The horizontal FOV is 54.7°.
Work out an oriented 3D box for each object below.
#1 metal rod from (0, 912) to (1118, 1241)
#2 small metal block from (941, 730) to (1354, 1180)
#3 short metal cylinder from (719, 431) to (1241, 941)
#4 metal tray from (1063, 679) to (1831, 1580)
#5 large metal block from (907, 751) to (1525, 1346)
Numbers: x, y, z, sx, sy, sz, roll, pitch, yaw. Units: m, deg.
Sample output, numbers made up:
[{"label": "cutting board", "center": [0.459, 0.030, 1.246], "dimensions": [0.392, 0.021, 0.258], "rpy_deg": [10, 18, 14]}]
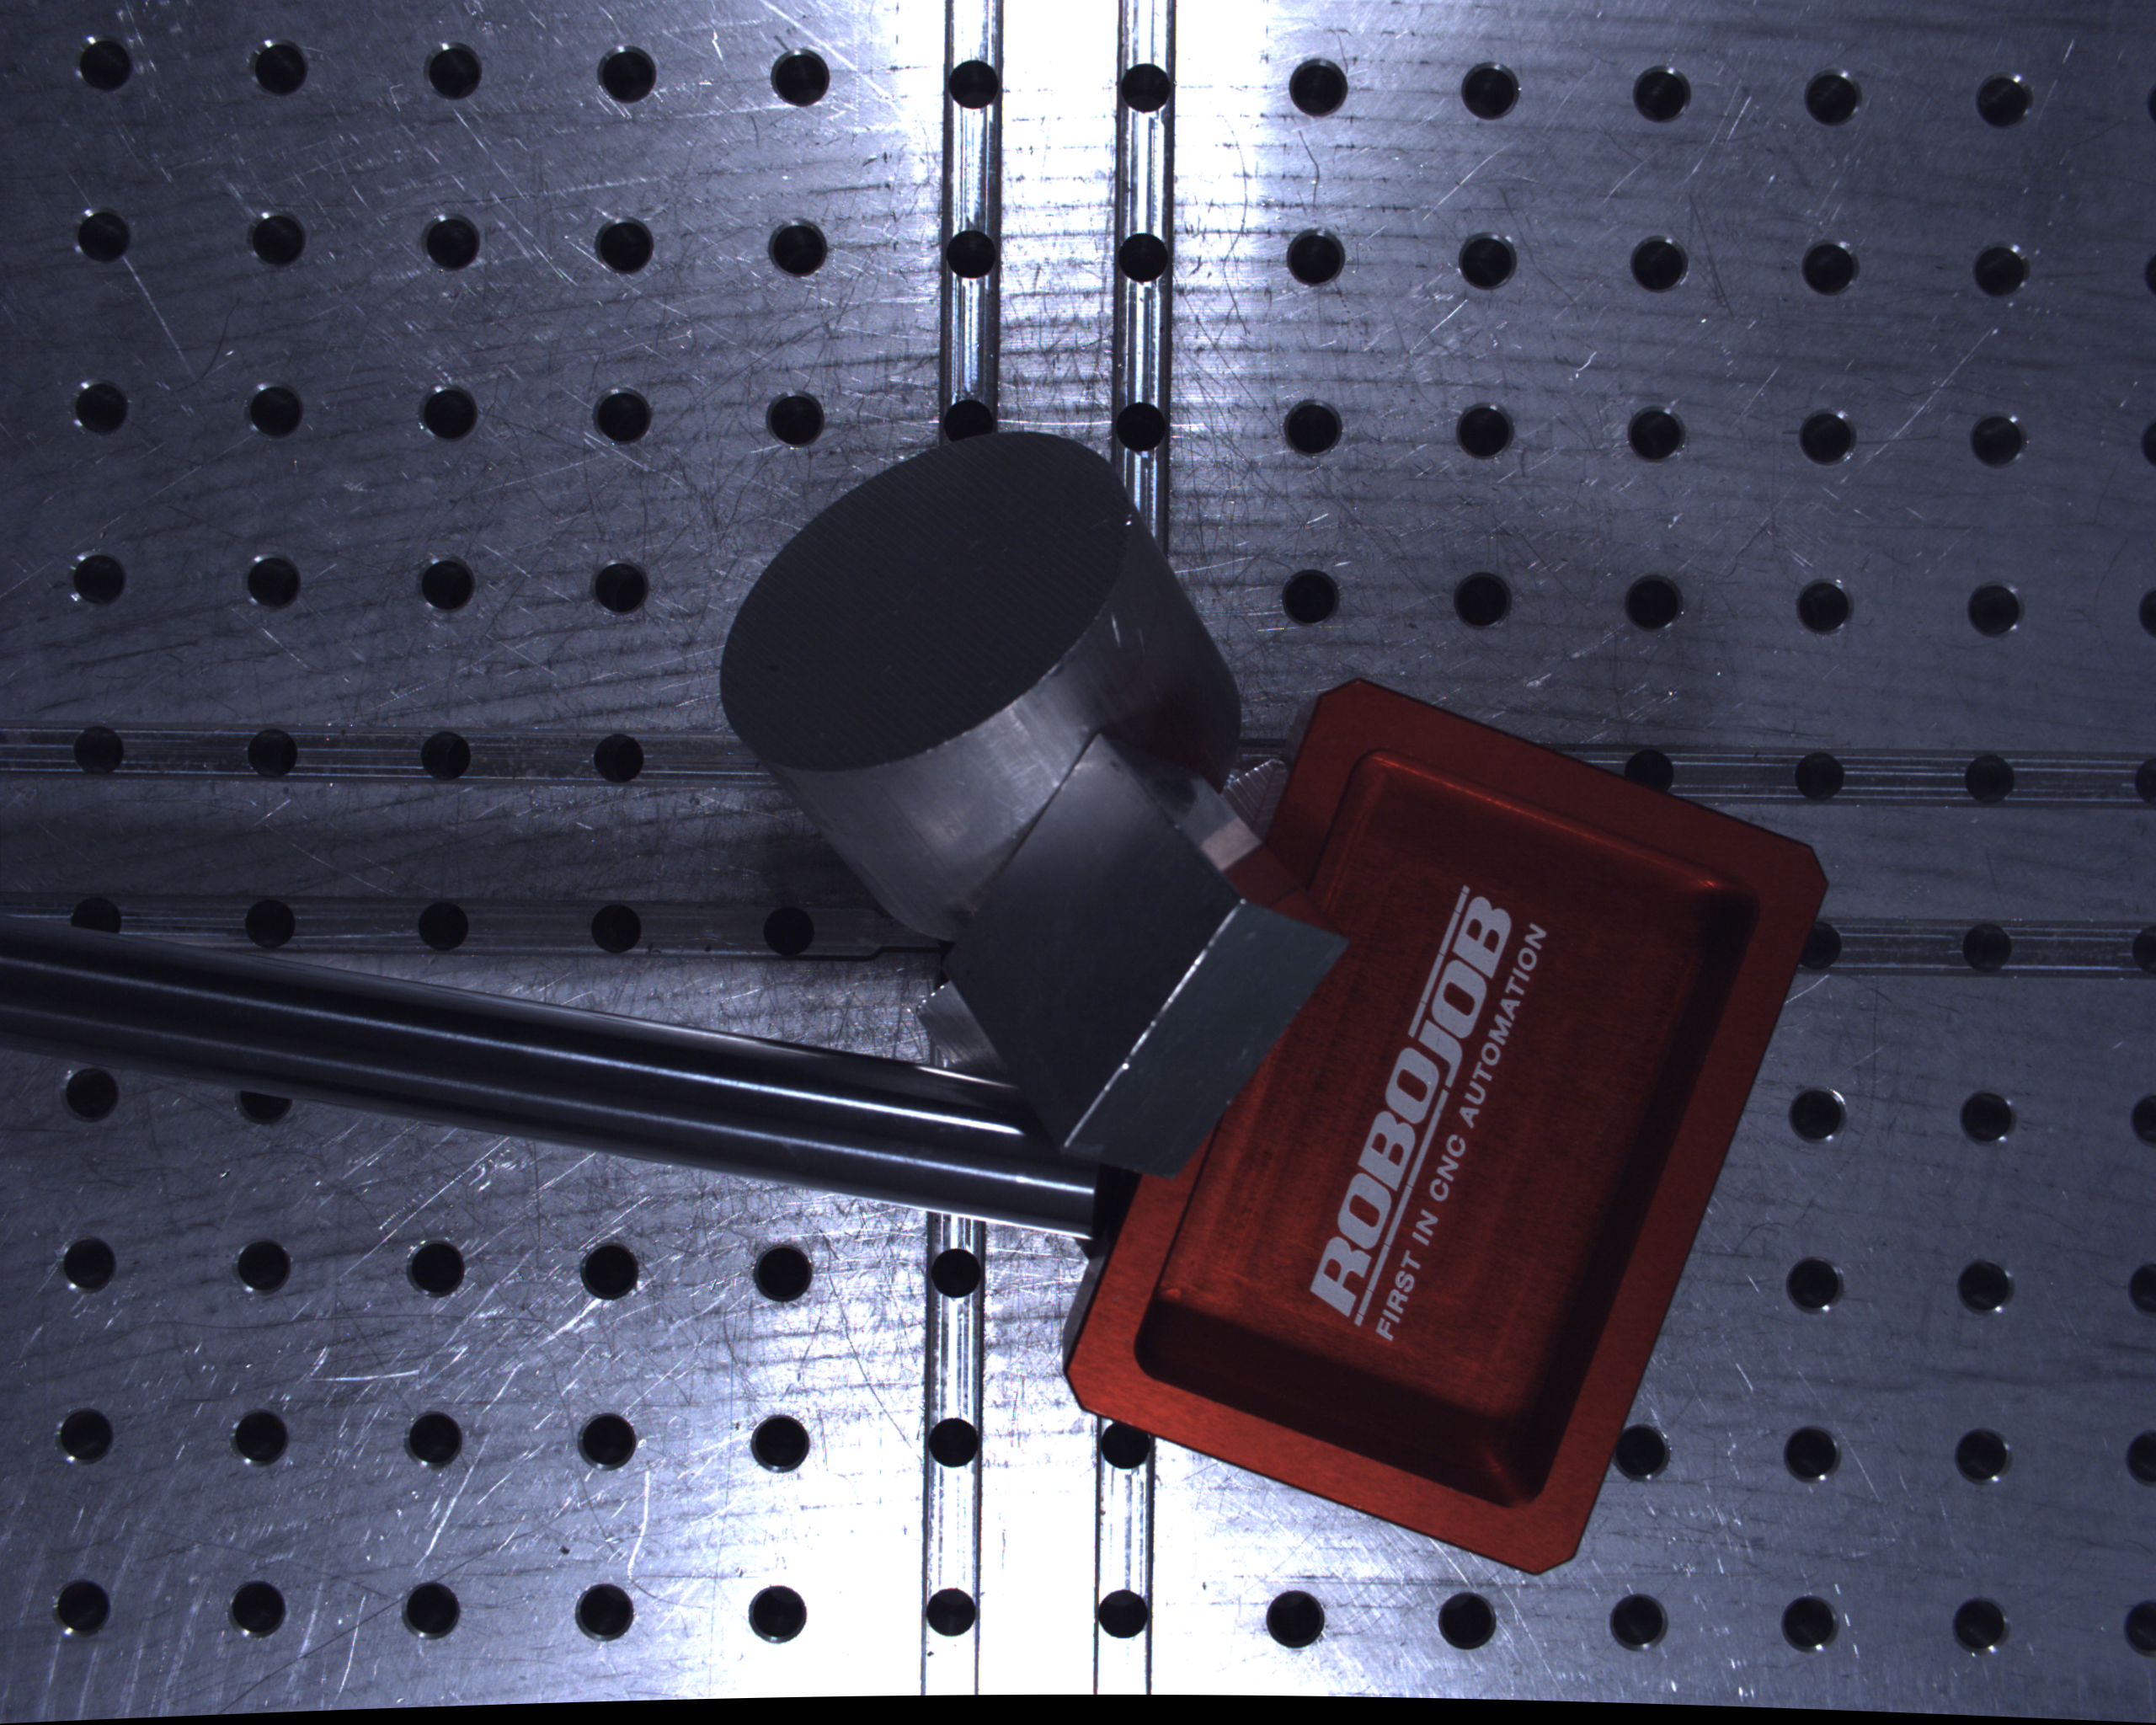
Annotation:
[{"label": "metal rod", "center": [-0.142, 0.031, 0.382], "dimensions": [0.301, 0.025, 0.025], "rpy_deg": [8, 90, 11]}, {"label": "small metal block", "center": [0.010, 0.015, 0.341], "dimensions": [0.025, 0.050, 0.050], "rpy_deg": [21, 111, -39]}, {"label": "short metal cylinder", "center": [-0.017, -0.032, 0.379], "dimensions": [0.080, 0.080, 0.050], "rpy_deg": [-35, 133, 0]}, {"label": "metal tray", "center": [0.061, 0.044, 0.359], "dimensions": [0.090, 0.030, 0.129], "rpy_deg": [21, 90, 0]}, {"label": "large metal block", "center": [0.025, 0.035, 0.400], "dimensions": [0.080, 0.050, 0.080], "rpy_deg": [-35, 90, 0]}]
